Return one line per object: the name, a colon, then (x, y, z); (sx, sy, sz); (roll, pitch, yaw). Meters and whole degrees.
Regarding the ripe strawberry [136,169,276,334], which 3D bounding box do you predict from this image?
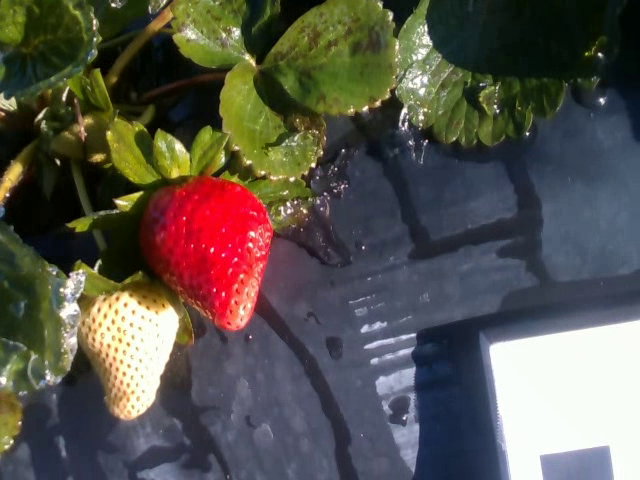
ripe strawberry: (-0.031, 0.009, 0.197); (0.042, 0.061, 0.046); (-24, -36, 8)
